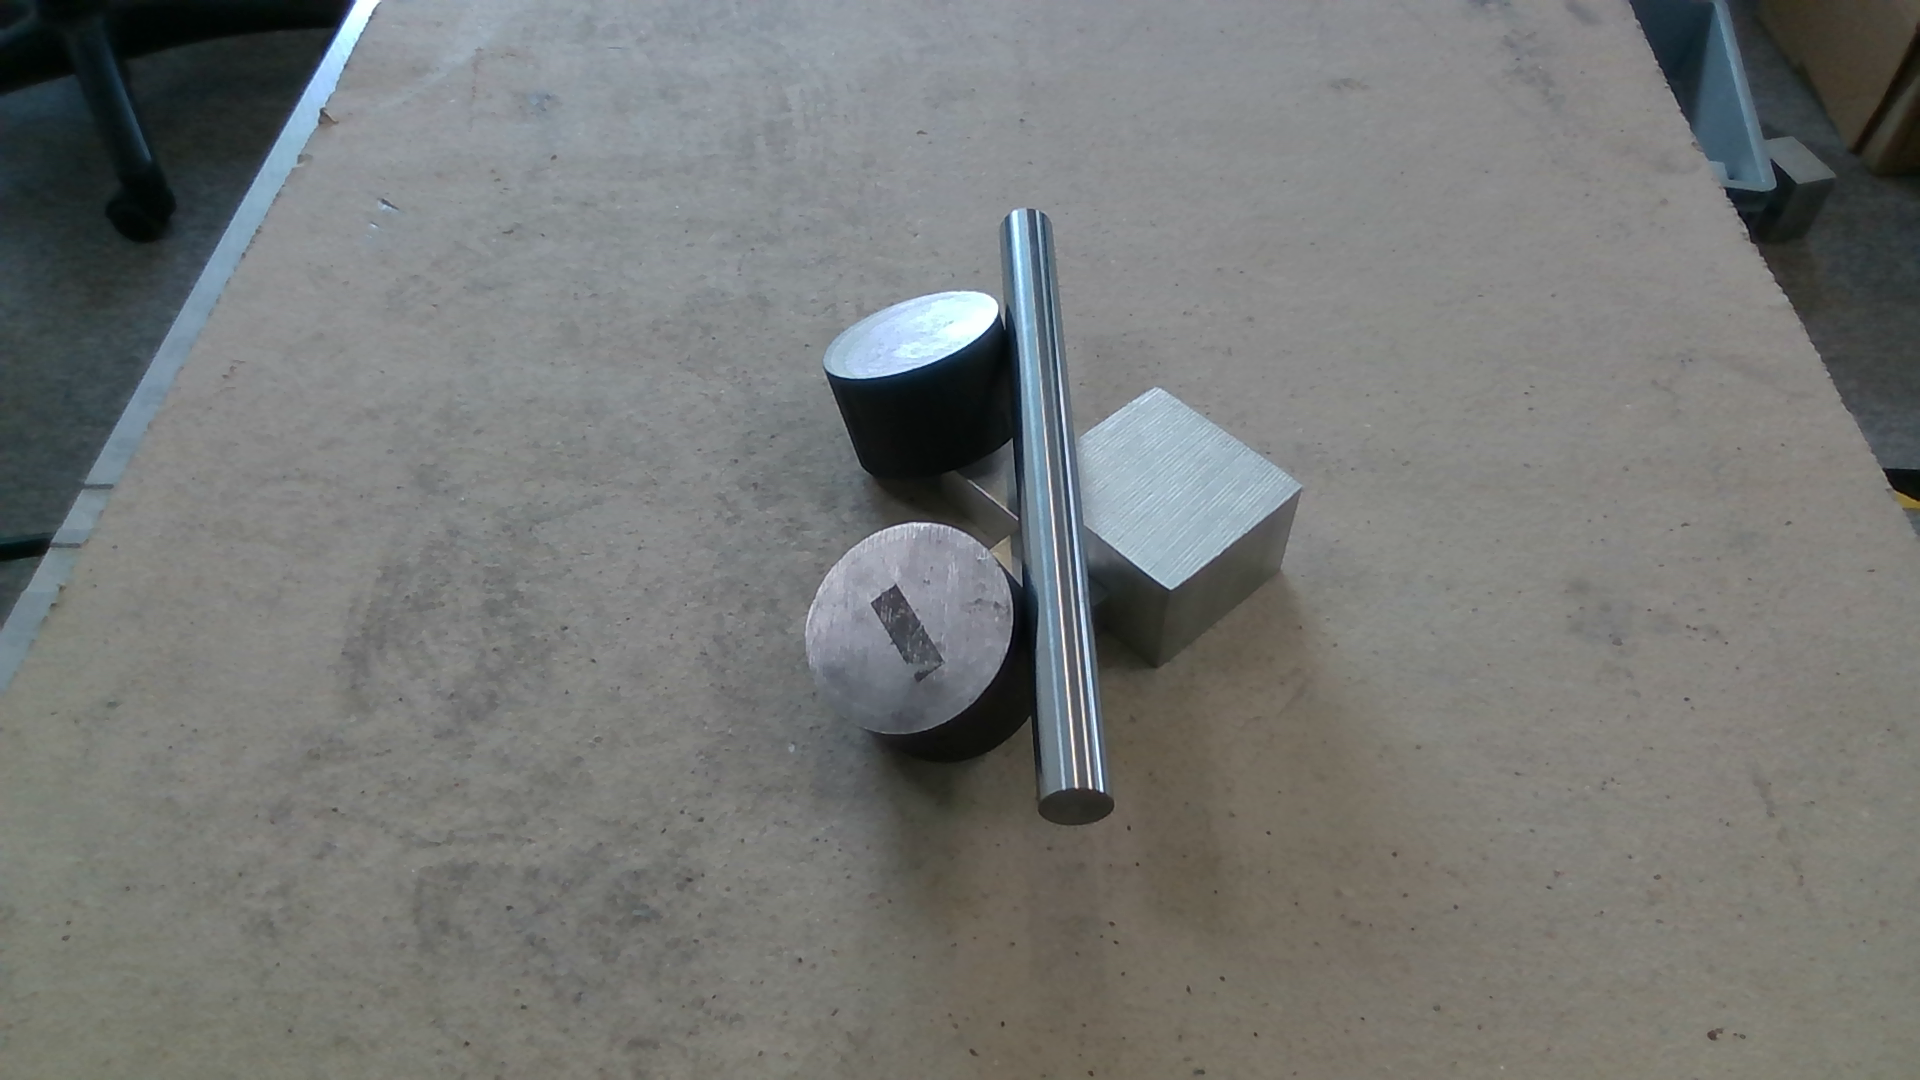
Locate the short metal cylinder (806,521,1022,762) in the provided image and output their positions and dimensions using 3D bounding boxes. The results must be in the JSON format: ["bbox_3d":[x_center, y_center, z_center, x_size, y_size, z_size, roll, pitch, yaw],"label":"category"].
[{"bbox_3d":[-0.011,0.039,0.521,0.080,0.050,0.080,-7,68,17],"label":"short metal cylinder"}]

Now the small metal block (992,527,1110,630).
[{"bbox_3d":[0.025,0.028,0.564,0.050,0.025,0.050,-36,59,-26],"label":"small metal block"}]

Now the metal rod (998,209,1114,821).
[{"bbox_3d":[0.034,-0.029,0.544,0.025,0.025,0.299,-1,50,-1],"label":"metal rod"}]

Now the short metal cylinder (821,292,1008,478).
[{"bbox_3d":[-0.016,-0.070,0.611,0.080,0.050,0.080,-14,30,8],"label":"short metal cylinder"}]

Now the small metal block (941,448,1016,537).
[{"bbox_3d":[0.027,-0.027,0.610,0.050,0.025,0.050,-36,60,-26],"label":"small metal block"}]

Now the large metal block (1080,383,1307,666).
[{"bbox_3d":[0.083,-0.008,0.576,0.080,0.050,0.080,-35,58,-26],"label":"large metal block"}]
